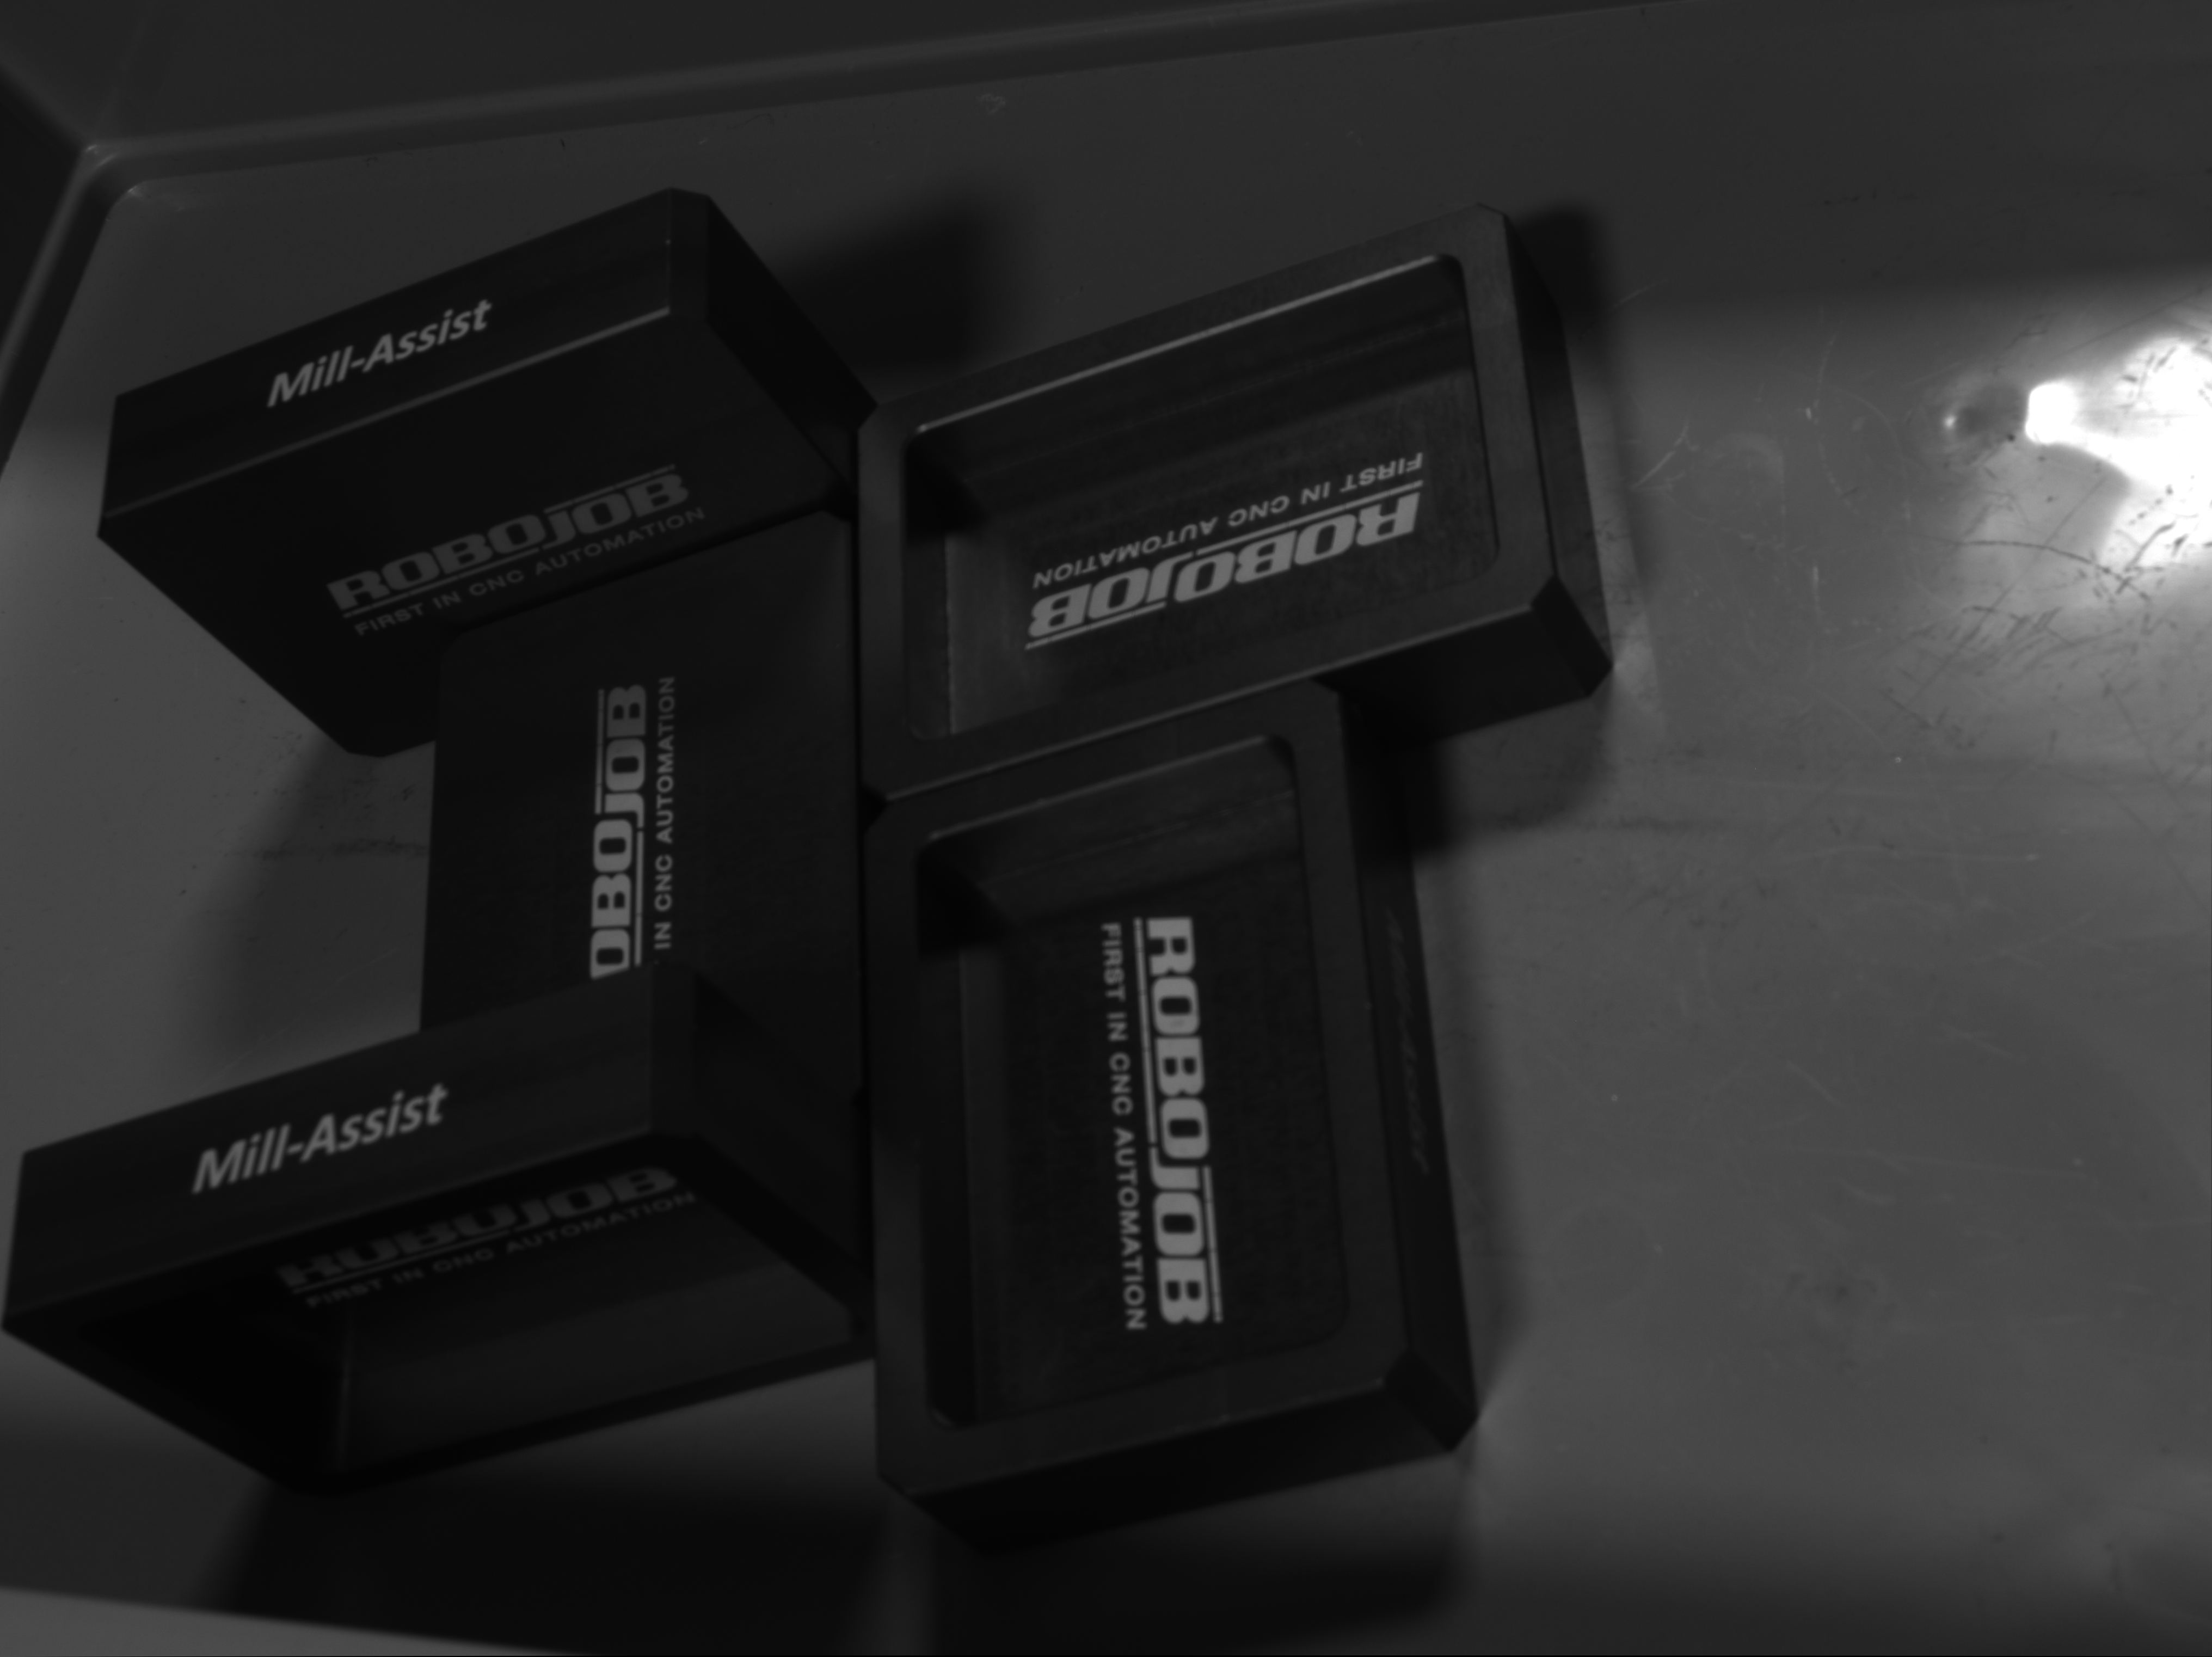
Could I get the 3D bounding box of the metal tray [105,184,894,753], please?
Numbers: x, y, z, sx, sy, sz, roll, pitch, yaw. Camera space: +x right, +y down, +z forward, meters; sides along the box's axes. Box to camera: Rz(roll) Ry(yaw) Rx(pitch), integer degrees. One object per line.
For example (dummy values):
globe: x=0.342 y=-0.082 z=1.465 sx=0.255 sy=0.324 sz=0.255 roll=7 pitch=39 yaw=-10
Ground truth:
metal tray: x=-0.111 y=-0.065 z=0.698 sx=0.130 sy=0.090 sz=0.030 roll=-17 pitch=55 yaw=19

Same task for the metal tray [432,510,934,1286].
metal tray: x=-0.077 y=0.012 z=0.672 sx=0.090 sy=0.030 sz=0.130 roll=-16 pitch=55 yaw=19

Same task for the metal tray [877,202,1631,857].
metal tray: x=0.023 y=-0.051 z=0.659 sx=0.130 sy=0.030 sz=0.090 roll=-16 pitch=55 yaw=19

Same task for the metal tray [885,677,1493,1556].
metal tray: x=0.011 y=0.046 z=0.605 sx=0.090 sy=0.030 sz=0.130 roll=-16 pitch=55 yaw=19

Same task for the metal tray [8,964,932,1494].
metal tray: x=-0.103 y=0.070 z=0.611 sx=0.130 sy=0.090 sz=0.030 roll=-16 pitch=55 yaw=19
